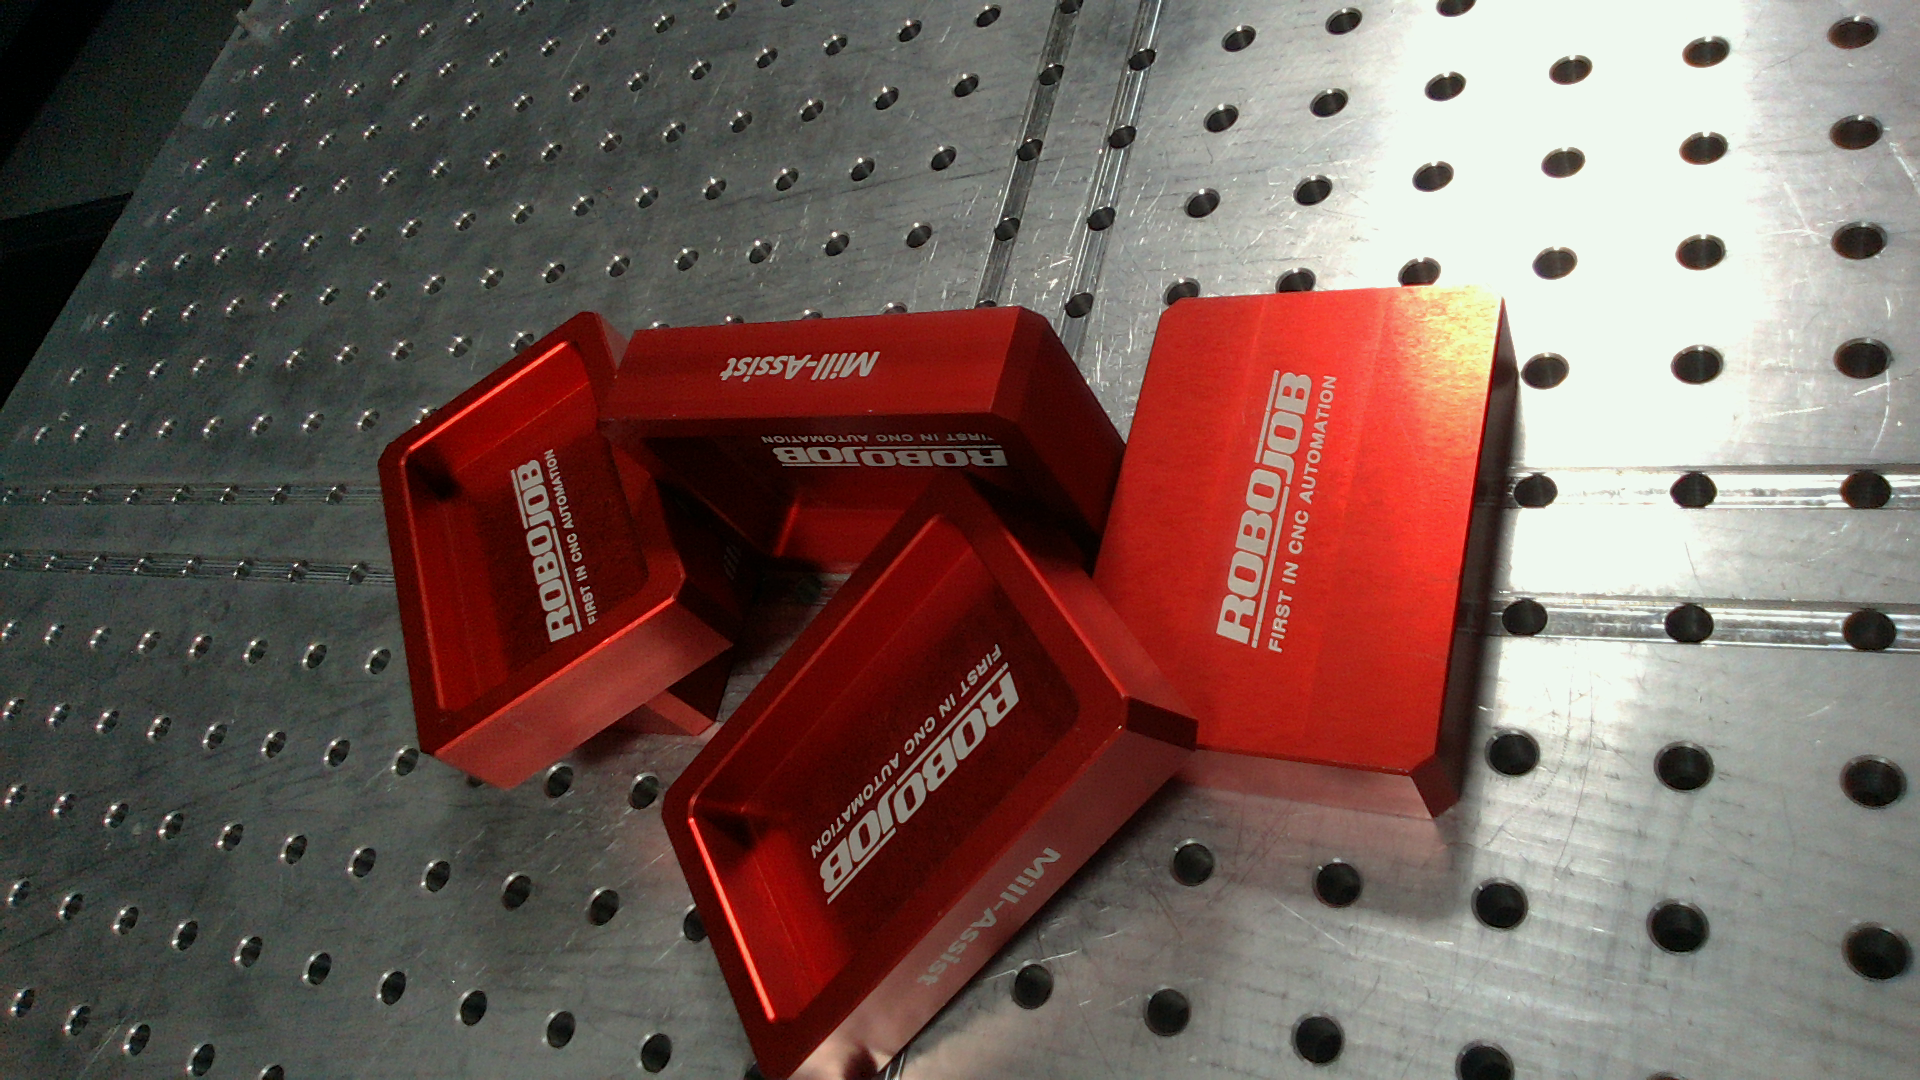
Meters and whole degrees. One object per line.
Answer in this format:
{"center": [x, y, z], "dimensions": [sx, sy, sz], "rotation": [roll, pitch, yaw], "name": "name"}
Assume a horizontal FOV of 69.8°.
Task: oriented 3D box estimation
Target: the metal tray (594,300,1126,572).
{"center": [-0.023, -0.024, 0.380], "dimensions": [0.130, 0.090, 0.030], "rotation": [1, 62, 29], "name": "metal tray"}

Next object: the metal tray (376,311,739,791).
{"center": [-0.128, -0.001, 0.422], "dimensions": [0.090, 0.030, 0.130], "rotation": [-33, 52, 7], "name": "metal tray"}

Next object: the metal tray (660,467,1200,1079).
{"center": [-0.014, 0.058, 0.341], "dimensions": [0.130, 0.030, 0.090], "rotation": [-49, 49, 16], "name": "metal tray"}

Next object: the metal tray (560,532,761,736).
{"center": [-0.108, -0.003, 0.454], "dimensions": [0.090, 0.030, 0.130], "rotation": [-1, 61, 28], "name": "metal tray"}

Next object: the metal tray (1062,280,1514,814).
{"center": [0.084, -0.003, 0.348], "dimensions": [0.090, 0.030, 0.130], "rotation": [3, 63, 30], "name": "metal tray"}
